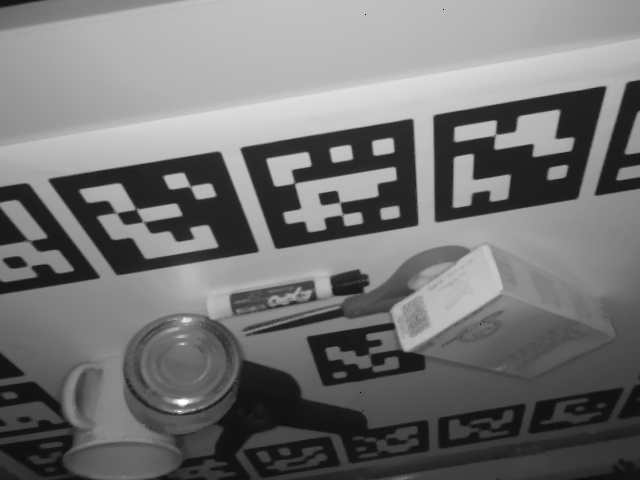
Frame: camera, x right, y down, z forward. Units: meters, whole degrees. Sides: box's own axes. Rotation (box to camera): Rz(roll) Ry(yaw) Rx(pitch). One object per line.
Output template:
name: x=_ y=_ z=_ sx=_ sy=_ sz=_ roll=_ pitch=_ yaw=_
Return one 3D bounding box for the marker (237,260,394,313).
marker: x=-0.003 y=0.036 z=0.536 sx=0.121 sy=0.020 sz=0.019 roll=-12 pitch=136 yaw=4

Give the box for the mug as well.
mug: x=-0.147 y=0.140 z=0.586 sx=0.092 sy=0.082 sz=0.118 roll=-29 pitch=137 yaw=23

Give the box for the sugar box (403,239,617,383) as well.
sugar box: x=0.159 y=0.067 z=0.566 sx=0.091 sy=0.045 sz=0.178 roll=-37 pitch=136 yaw=29

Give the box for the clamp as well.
clamp: x=-0.046 y=0.163 z=0.670 sx=0.164 sy=0.037 sz=0.202 roll=-17 pitch=136 yaw=10

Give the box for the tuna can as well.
tuna can: x=-0.096 y=0.099 z=0.541 sx=0.086 sy=0.086 sz=0.033 roll=3 pitch=137 yaw=-10

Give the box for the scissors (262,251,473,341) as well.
scissors: x=0.049 y=0.058 z=0.563 sx=0.202 sy=0.016 sz=0.087 roll=-16 pitch=141 yaw=11
